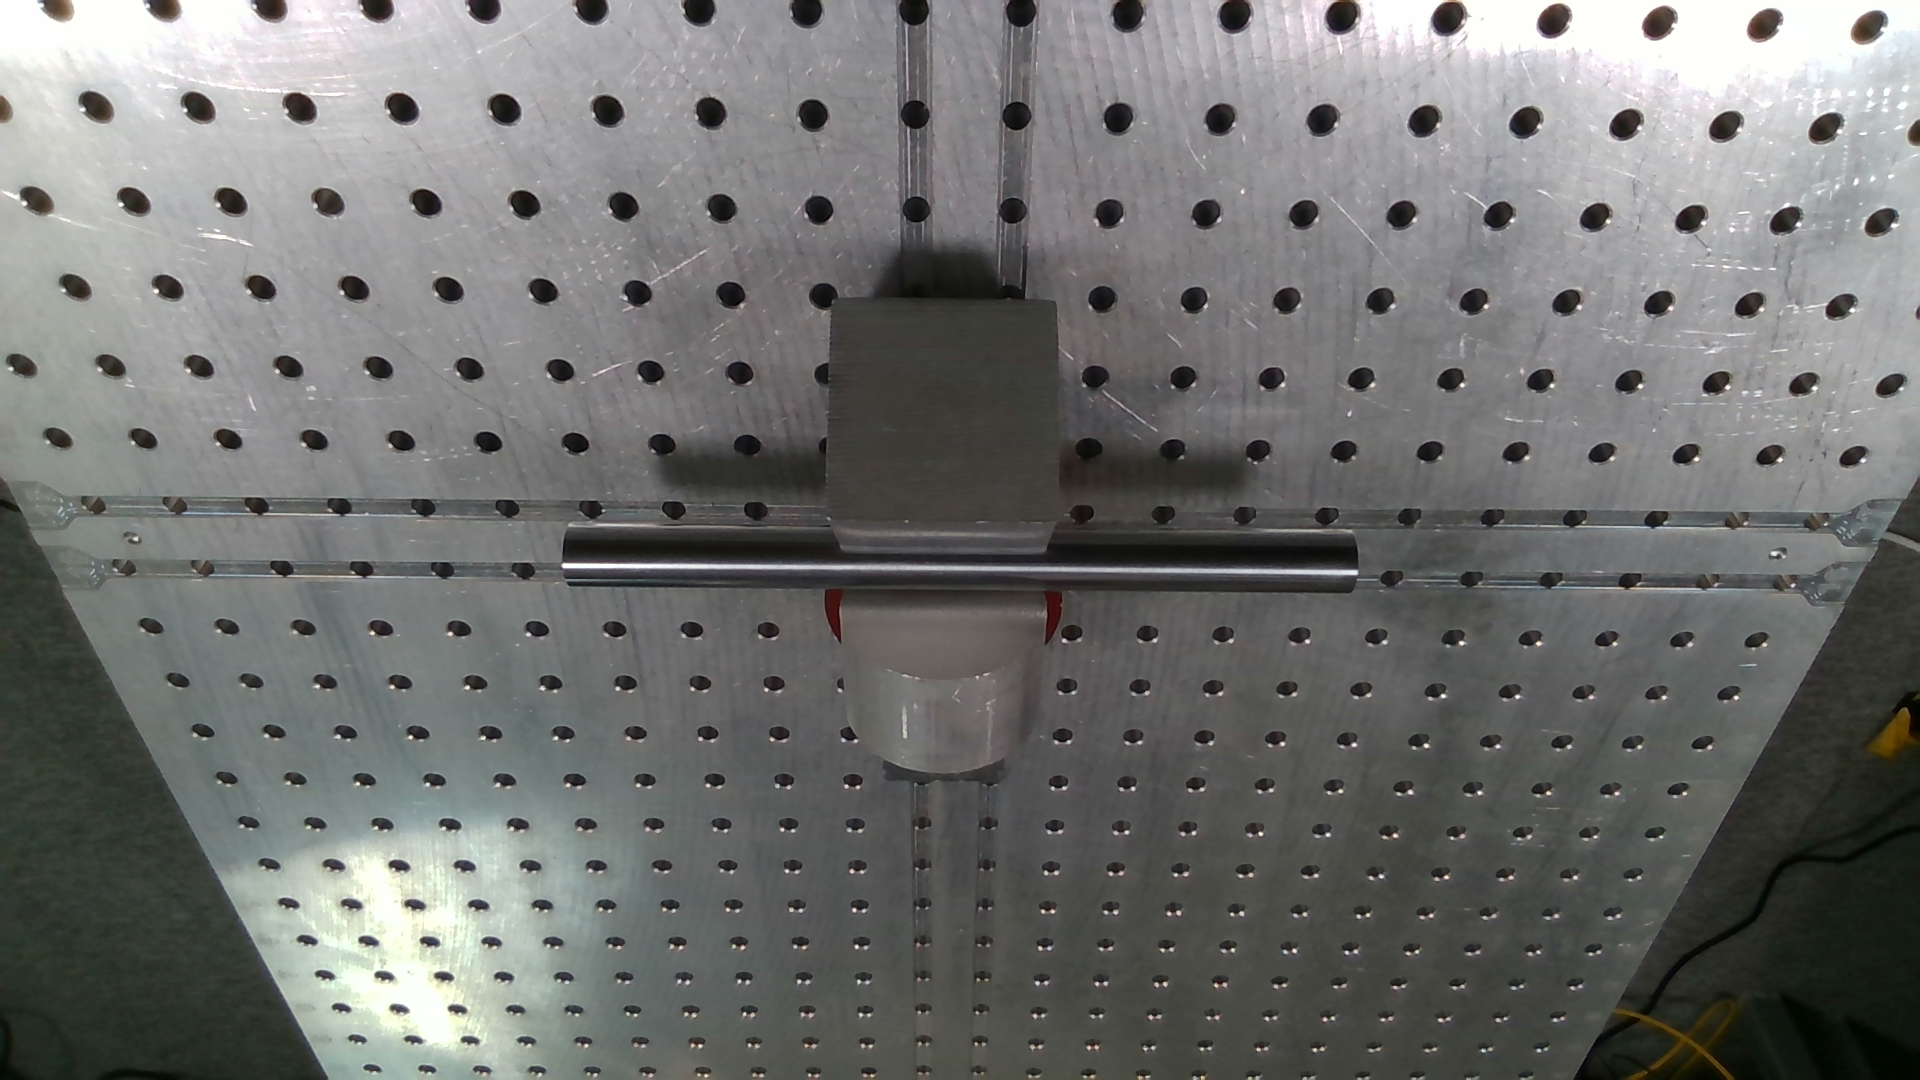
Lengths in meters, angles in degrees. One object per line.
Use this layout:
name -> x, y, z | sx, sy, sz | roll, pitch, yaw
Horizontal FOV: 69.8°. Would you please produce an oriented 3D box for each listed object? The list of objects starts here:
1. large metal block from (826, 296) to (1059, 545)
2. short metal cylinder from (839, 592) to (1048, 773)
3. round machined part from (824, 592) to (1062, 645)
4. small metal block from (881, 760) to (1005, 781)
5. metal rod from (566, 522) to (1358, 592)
large metal block -> -0.006, -0.042, 0.504 | 0.080, 0.080, 0.050 | 1, 171, -1
short metal cylinder -> -0.007, 0.045, 0.545 | 0.080, 0.080, 0.050 | 1, 130, 0
round machined part -> -0.007, 0.015, 0.582 | 0.098, 0.042, 0.098 | 0, 130, 0
small metal block -> -0.007, 0.072, 0.572 | 0.050, 0.050, 0.025 | 1, 130, -1
metal rod -> 0.001, 0.006, 0.534 | 0.300, 0.025, 0.025 | 1, 130, 0
